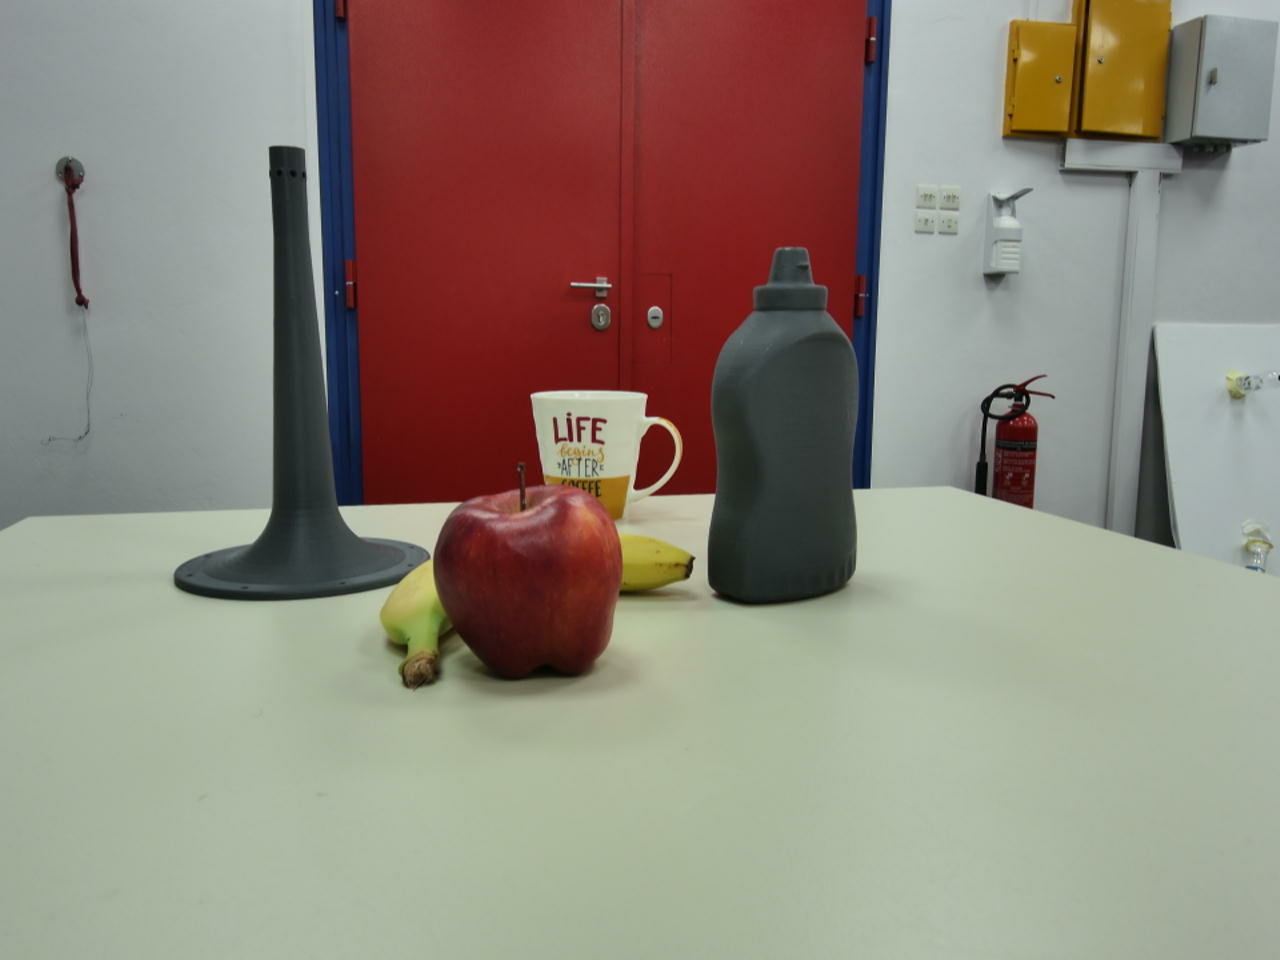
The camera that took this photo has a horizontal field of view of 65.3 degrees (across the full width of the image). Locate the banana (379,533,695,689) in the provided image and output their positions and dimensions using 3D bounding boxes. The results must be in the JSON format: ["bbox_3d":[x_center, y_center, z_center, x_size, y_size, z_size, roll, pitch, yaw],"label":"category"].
[{"bbox_3d":[-0.063,0.055,0.513,0.094,0.041,0.196,5,9,41],"label":"banana"}]
